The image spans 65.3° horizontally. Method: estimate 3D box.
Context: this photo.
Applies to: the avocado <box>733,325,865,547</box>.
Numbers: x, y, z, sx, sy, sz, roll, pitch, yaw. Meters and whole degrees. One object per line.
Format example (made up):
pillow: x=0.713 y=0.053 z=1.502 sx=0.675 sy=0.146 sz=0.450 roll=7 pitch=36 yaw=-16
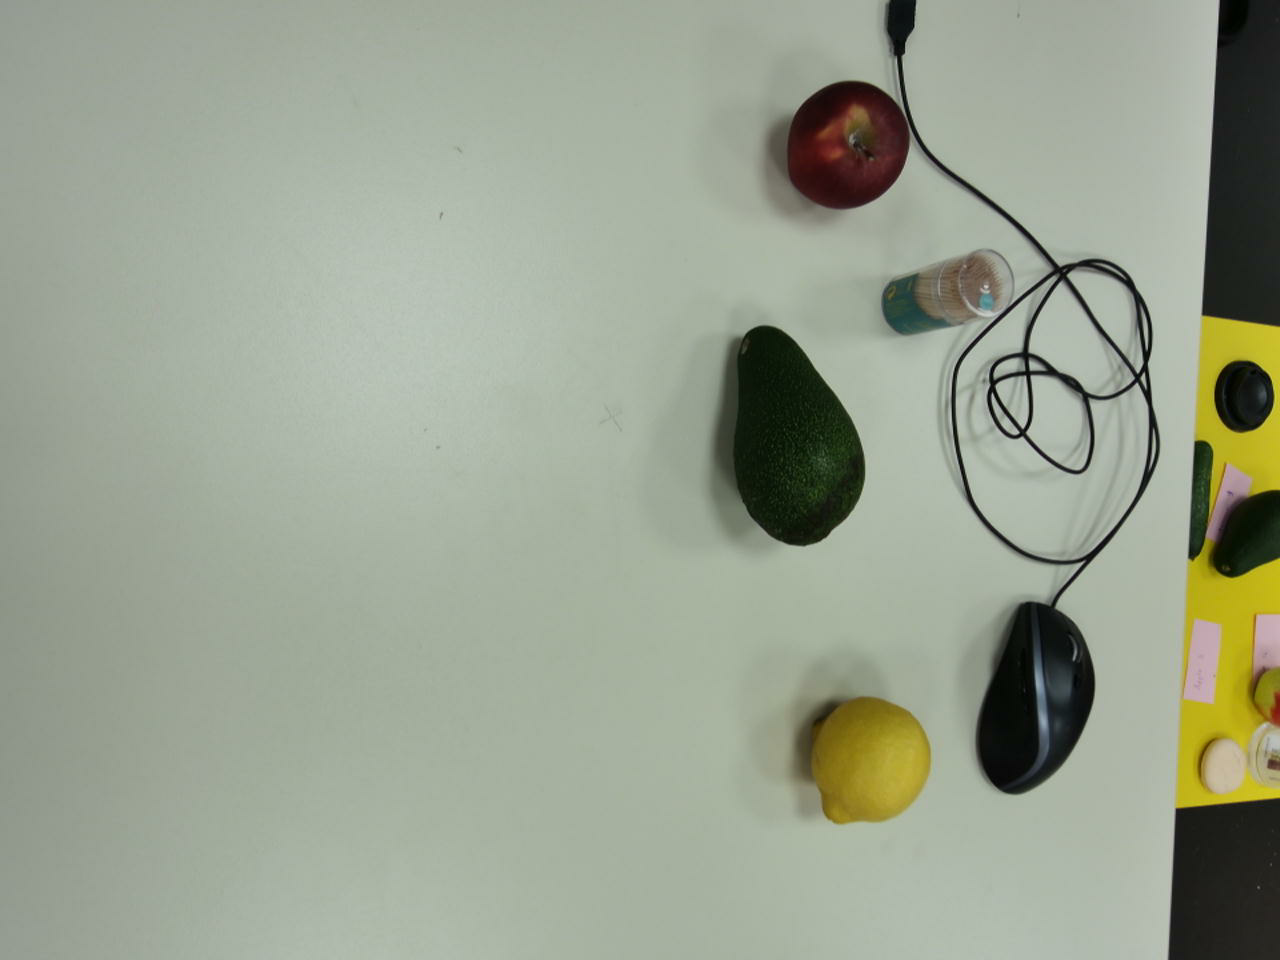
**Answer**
avocado: x=0.092 y=-0.024 z=0.562 sx=0.074 sy=0.076 sz=0.123 roll=11 pitch=86 yaw=-21
